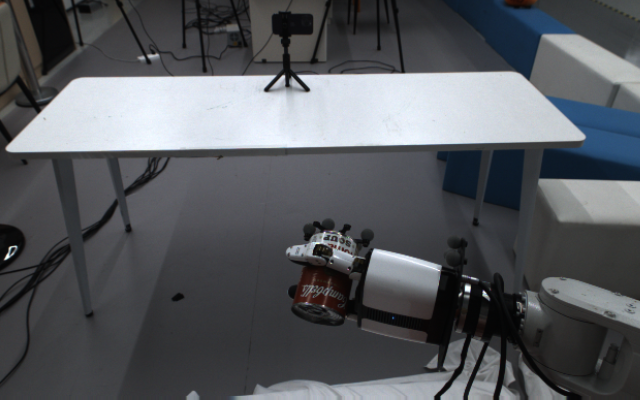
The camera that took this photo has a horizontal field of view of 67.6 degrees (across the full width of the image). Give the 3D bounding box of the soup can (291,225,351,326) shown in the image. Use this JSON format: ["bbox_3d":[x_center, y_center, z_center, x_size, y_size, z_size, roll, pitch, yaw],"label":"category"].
[{"bbox_3d":[0.010,0.097,0.606,0.067,0.067,0.101,9,58,10],"label":"soup can"}]
